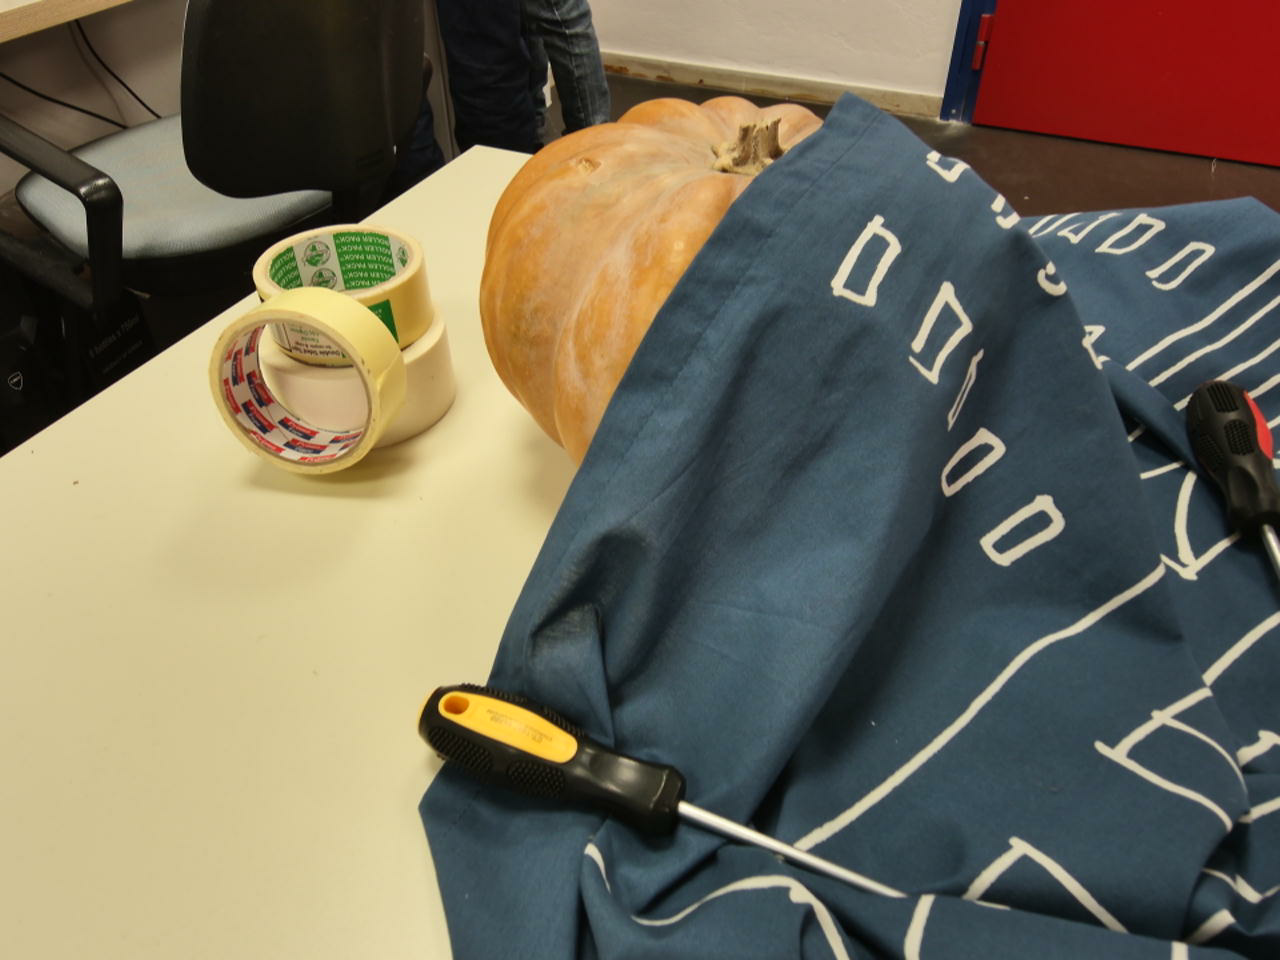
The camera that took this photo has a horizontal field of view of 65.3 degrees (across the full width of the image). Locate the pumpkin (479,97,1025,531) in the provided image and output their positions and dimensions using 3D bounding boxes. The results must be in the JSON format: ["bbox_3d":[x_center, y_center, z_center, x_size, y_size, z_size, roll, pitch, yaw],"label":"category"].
[{"bbox_3d":[0.050,-0.093,0.514,0.277,0.181,0.277,0,38,0],"label":"pumpkin"}]
